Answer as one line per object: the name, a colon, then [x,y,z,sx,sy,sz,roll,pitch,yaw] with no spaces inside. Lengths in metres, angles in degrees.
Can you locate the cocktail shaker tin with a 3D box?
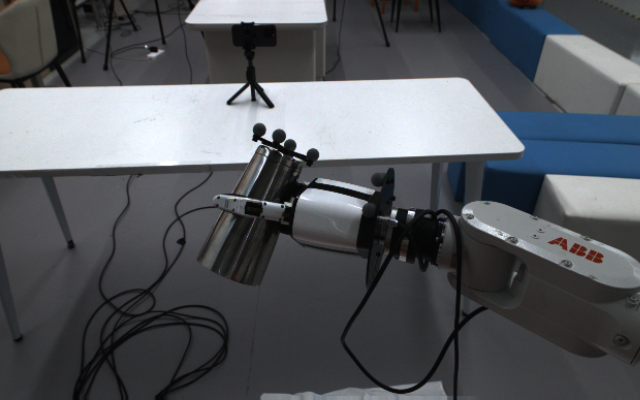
cocktail shaker tin: [-0.085,0.016,0.646,0.093,0.170,0.093,23,0,0]
